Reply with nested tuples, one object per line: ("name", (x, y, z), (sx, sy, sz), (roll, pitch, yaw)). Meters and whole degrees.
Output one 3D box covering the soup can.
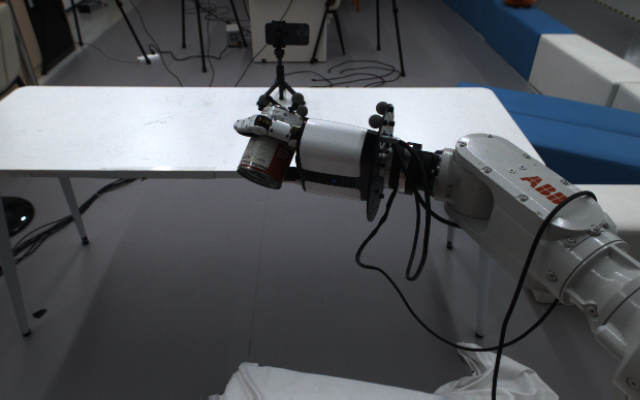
("soup can", (-0.068, -0.075, 0.685), (0.067, 0.067, 0.101), (16, 75, 19))
